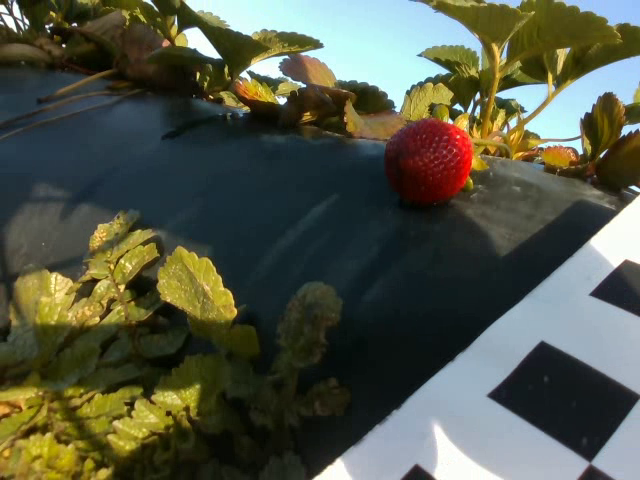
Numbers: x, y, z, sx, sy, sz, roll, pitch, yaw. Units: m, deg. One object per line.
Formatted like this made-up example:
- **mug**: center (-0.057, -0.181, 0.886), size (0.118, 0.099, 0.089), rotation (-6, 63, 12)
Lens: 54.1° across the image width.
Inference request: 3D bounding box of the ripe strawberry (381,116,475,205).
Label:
- **ripe strawberry**: center (0.039, -0.030, 0.236), size (0.040, 0.037, 0.044), rotation (14, 24, 21)
